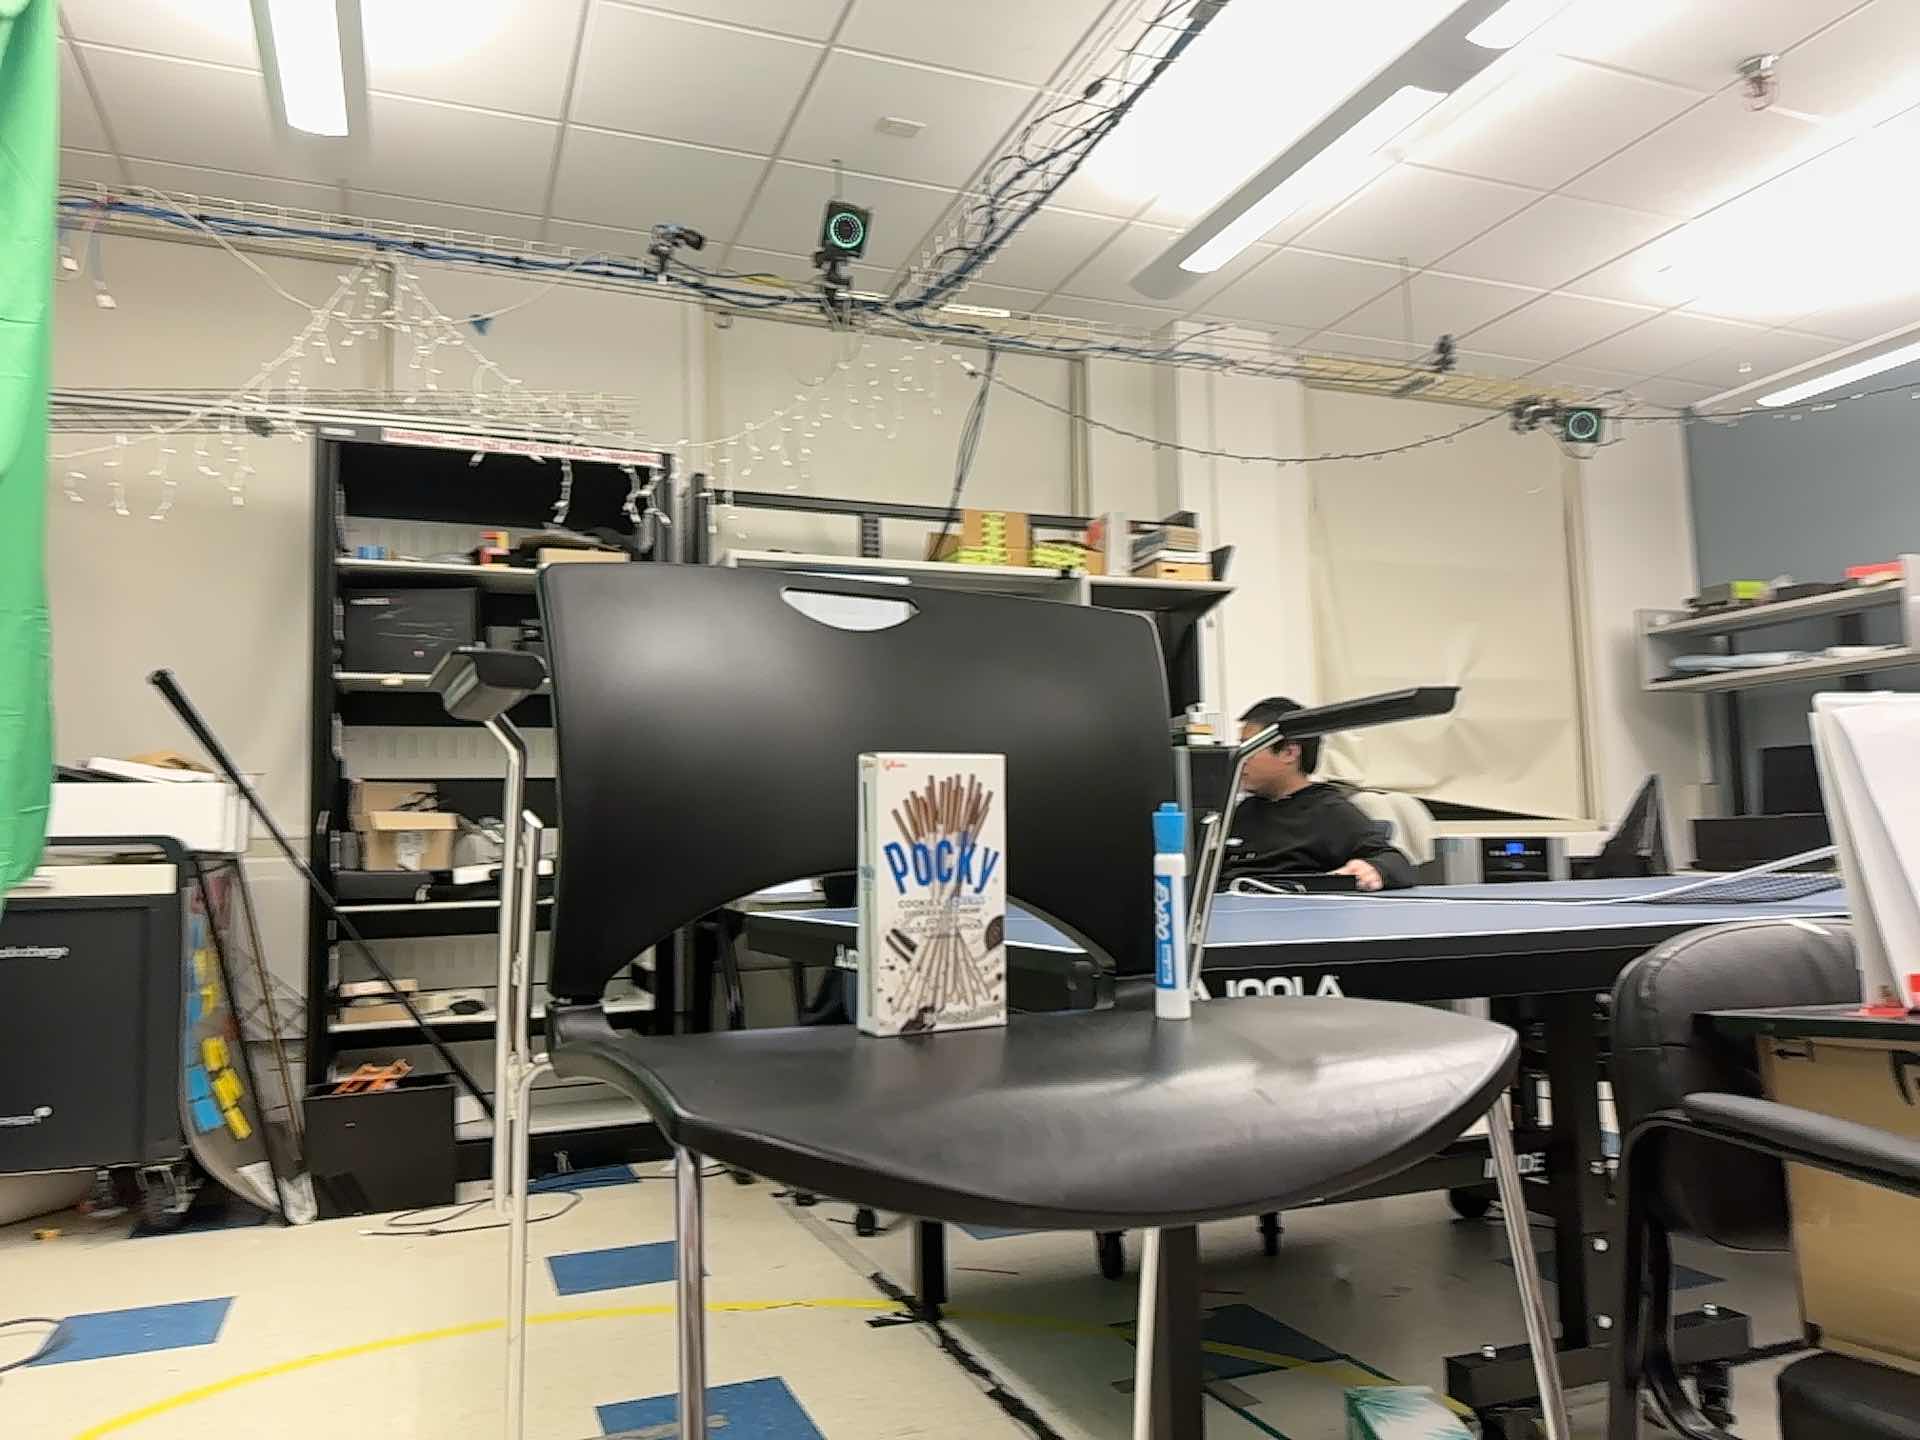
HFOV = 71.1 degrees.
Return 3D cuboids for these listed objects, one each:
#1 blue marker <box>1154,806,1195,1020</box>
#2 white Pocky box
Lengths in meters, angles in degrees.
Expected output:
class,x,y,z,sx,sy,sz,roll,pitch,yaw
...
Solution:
class,x,y,z,sx,sy,sz,roll,pitch,yaw
blue marker,0.123,0.110,0.774,0.020,0.121,0.020,-2,-2,0
white Pocky box,-0.016,0.096,0.734,0.084,0.154,0.028,1,-3,-27
